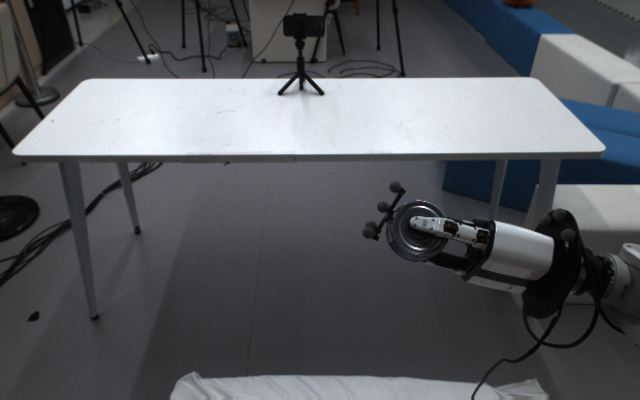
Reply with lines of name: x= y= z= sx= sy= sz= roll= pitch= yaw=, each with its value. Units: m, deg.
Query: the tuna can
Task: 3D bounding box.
tuna can: x=0.142 y=0.041 z=0.690 sx=0.085 sy=0.034 sz=0.085 roll=1 pitch=75 yaw=-5
